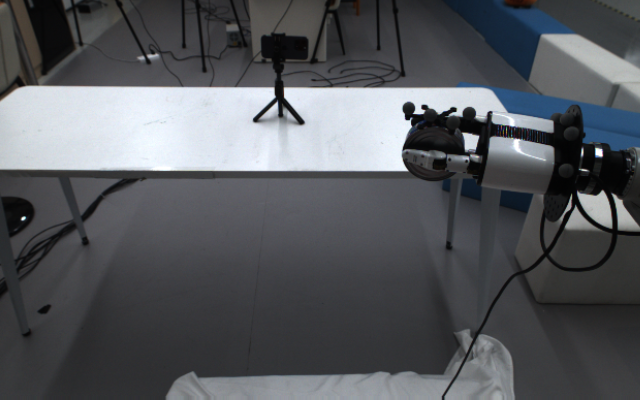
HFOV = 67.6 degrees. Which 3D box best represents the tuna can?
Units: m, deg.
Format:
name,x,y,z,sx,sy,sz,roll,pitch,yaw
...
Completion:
name,x,y,z,sx,sy,sz,roll,pitch,yaw
tuna can,0.162,-0.075,0.686,0.085,0.085,0.034,10,34,11
